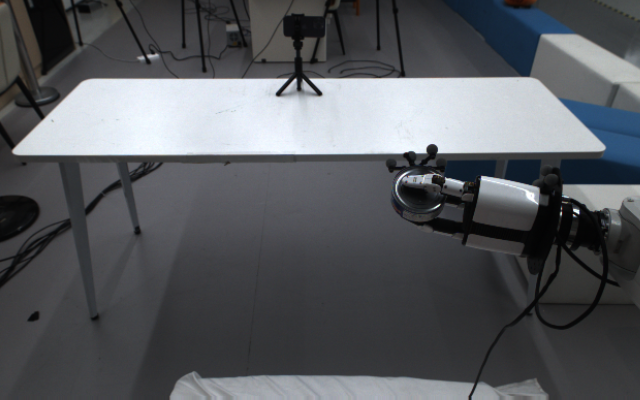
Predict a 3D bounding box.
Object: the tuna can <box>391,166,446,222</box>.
[{"bbox_3d":[0.153,-0.010,0.747,0.085,0.034,0.085,-2,58,3],"label":"tuna can"}]
